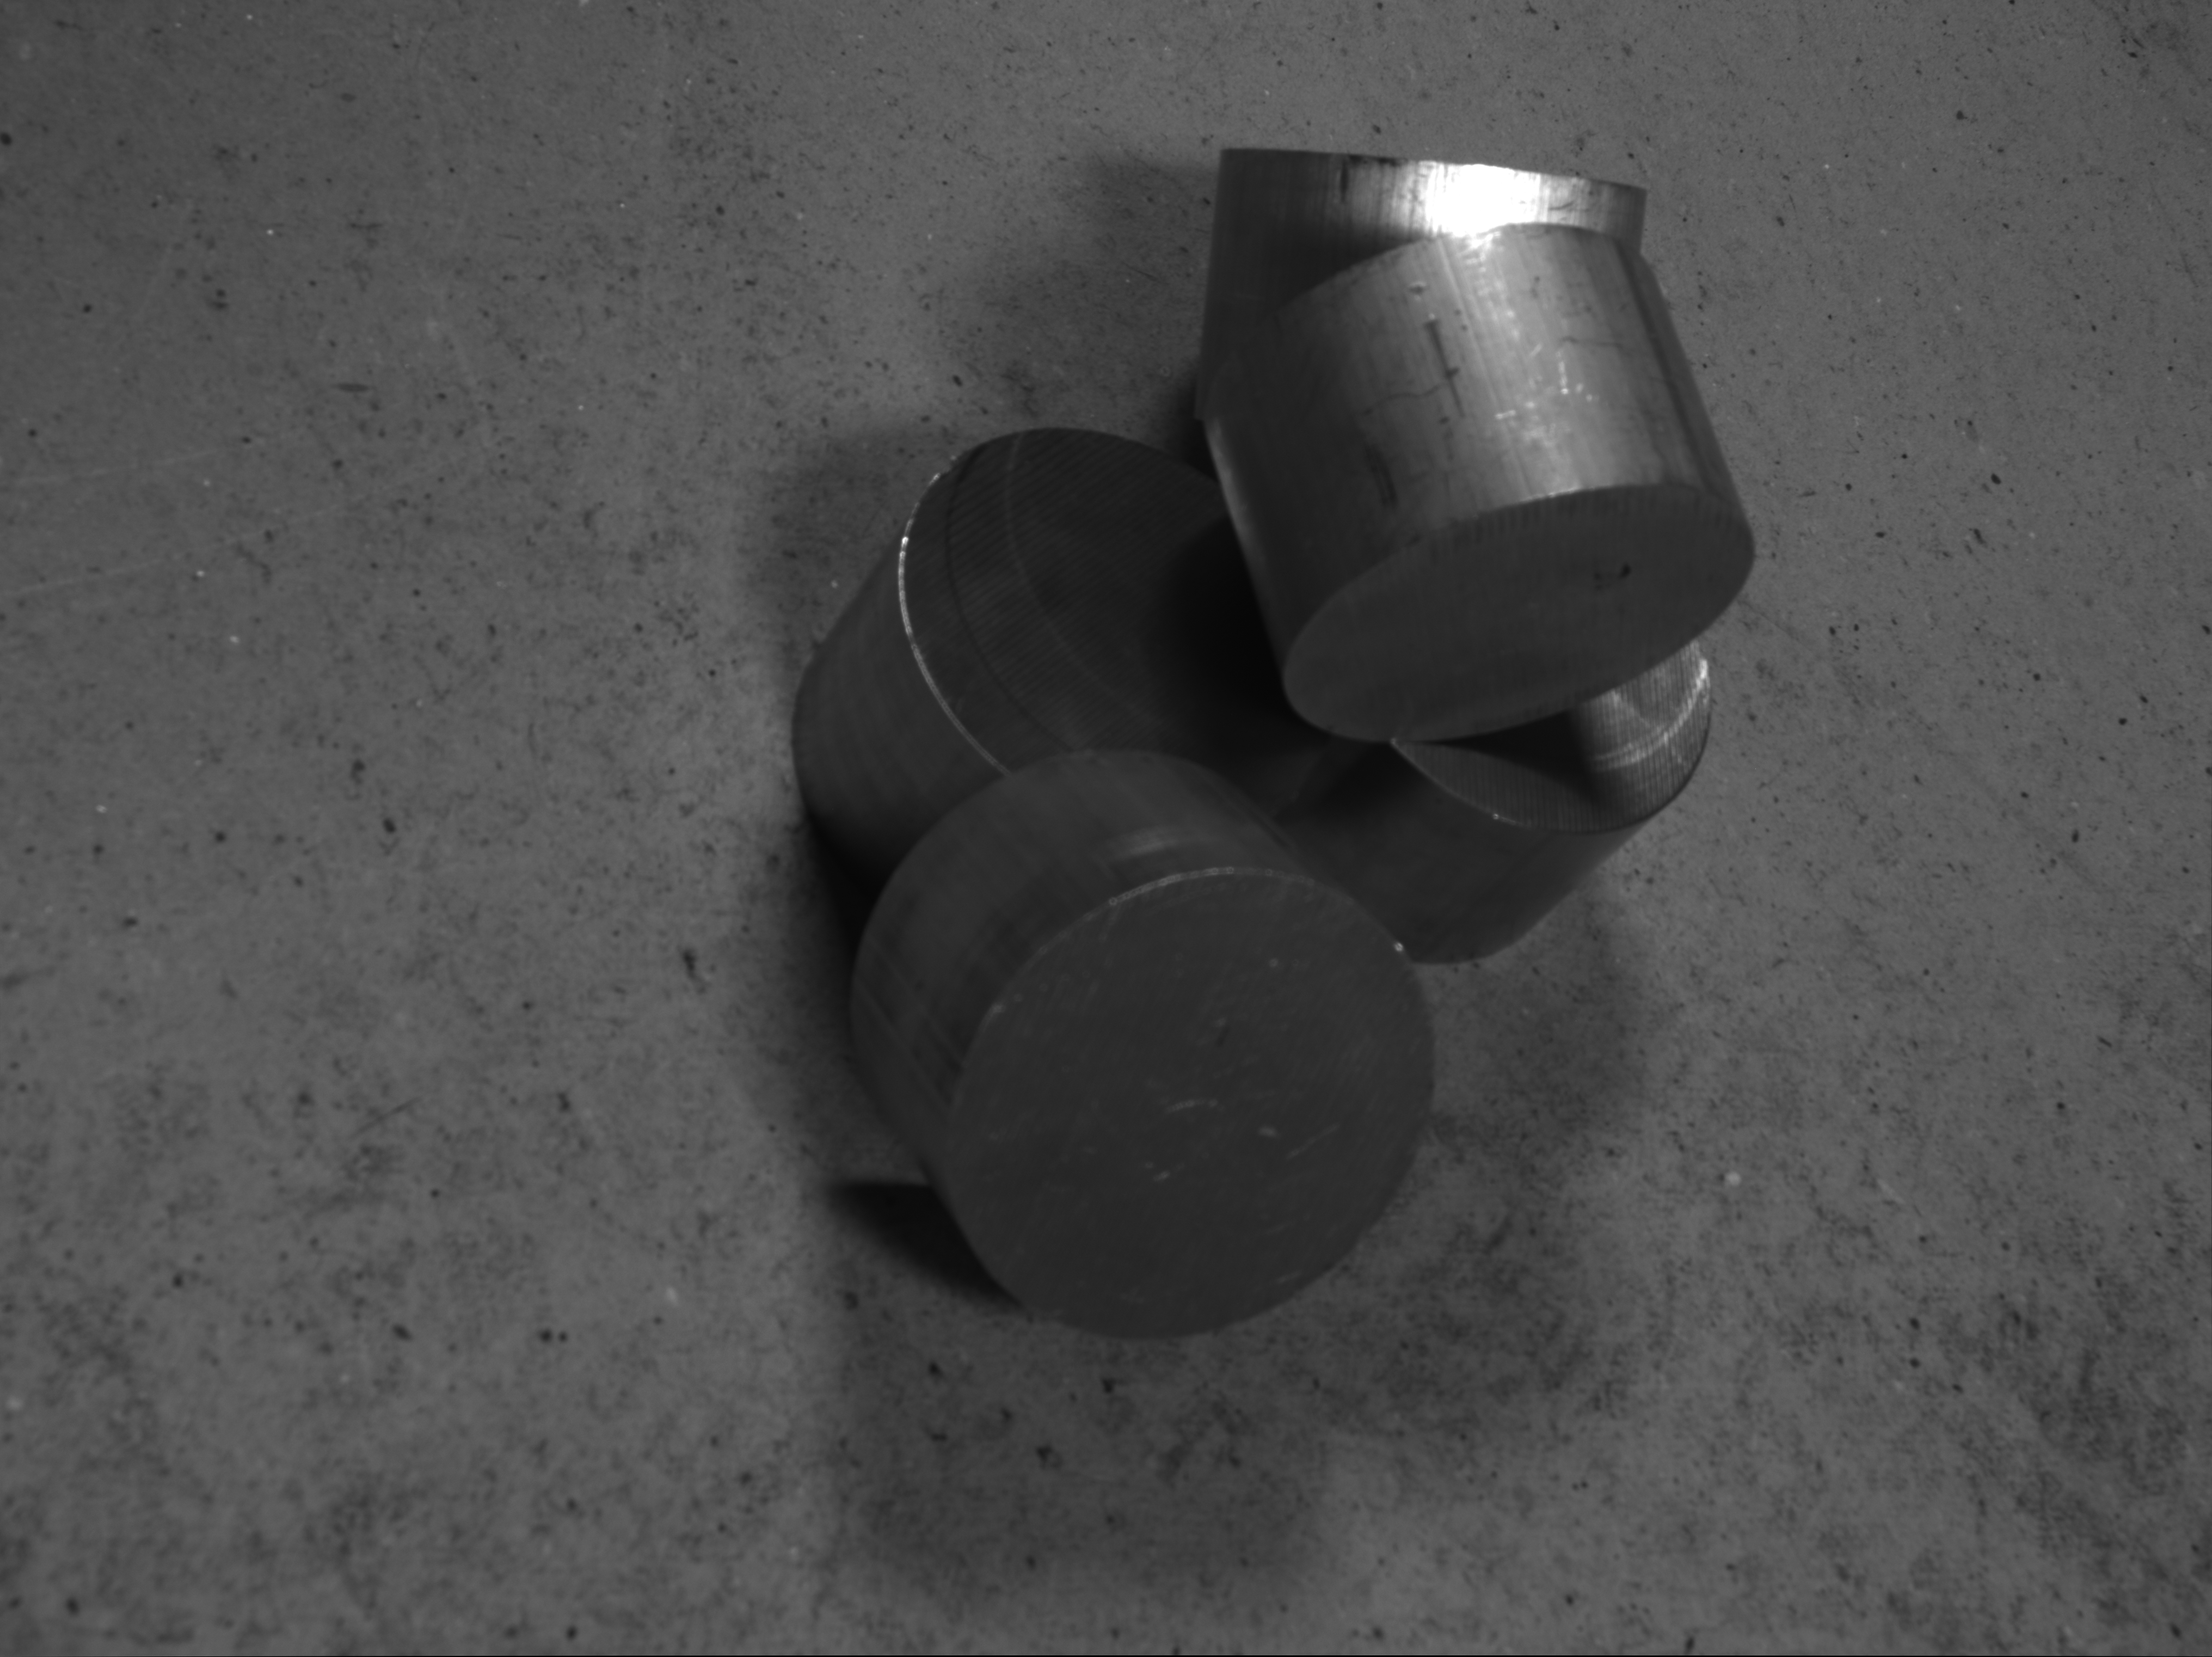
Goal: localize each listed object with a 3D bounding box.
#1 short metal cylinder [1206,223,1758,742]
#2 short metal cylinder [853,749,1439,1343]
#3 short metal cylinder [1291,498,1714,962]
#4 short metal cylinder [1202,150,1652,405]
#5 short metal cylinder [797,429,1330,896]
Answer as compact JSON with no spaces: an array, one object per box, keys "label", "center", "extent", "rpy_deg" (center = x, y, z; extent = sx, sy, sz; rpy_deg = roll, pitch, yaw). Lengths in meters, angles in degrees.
[{"label":"short metal cylinder","center":[0.062,-0.056,0.607],"extent":[0.080,0.080,0.050],"rpy_deg":[-1,62,-29]},{"label":"short metal cylinder","center":[0.006,0.034,0.578],"extent":[0.080,0.080,0.050],"rpy_deg":[7,19,-24]},{"label":"short metal cylinder","center":[0.064,-0.022,0.671],"extent":[0.080,0.050,0.080],"rpy_deg":[14,56,-21]},{"label":"short metal cylinder","center":[0.060,-0.098,0.688],"extent":[0.080,0.080,0.050],"rpy_deg":[1,99,-28]},{"label":"short metal cylinder","center":[-0.007,-0.022,0.633],"extent":[0.080,0.050,0.080],"rpy_deg":[14,56,-21]}]
